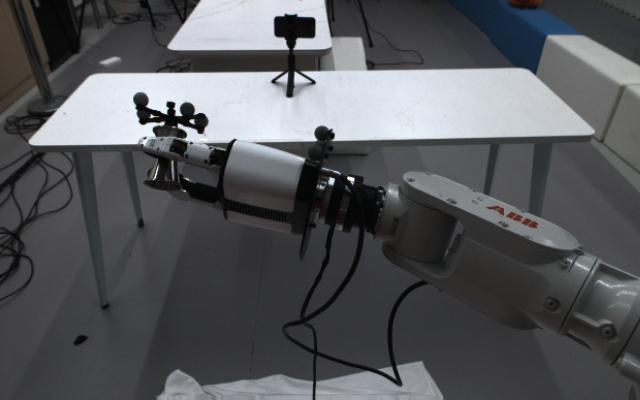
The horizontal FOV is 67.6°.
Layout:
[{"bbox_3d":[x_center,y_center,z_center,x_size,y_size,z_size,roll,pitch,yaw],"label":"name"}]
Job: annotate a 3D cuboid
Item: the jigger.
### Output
[{"bbox_3d":[-0.183,-0.049,0.575,0.043,0.043,0.071,3,77,1],"label":"jigger"}]
